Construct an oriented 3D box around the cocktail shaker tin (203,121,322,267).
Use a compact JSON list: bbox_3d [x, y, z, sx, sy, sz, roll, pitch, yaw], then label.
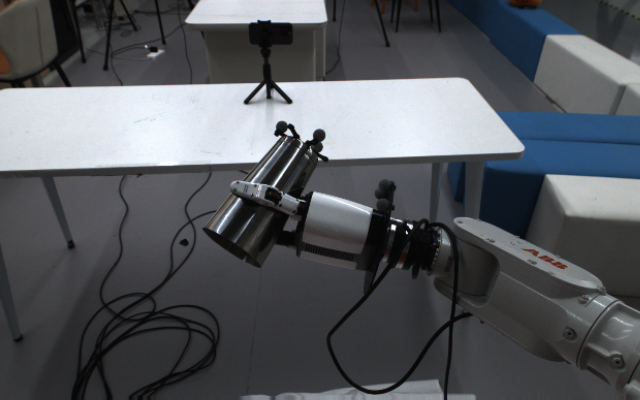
[{"bbox_3d":[-0.075,-0.006,0.664,0.093,0.093,0.170,22,67,26],"label":"cocktail shaker tin"}]
